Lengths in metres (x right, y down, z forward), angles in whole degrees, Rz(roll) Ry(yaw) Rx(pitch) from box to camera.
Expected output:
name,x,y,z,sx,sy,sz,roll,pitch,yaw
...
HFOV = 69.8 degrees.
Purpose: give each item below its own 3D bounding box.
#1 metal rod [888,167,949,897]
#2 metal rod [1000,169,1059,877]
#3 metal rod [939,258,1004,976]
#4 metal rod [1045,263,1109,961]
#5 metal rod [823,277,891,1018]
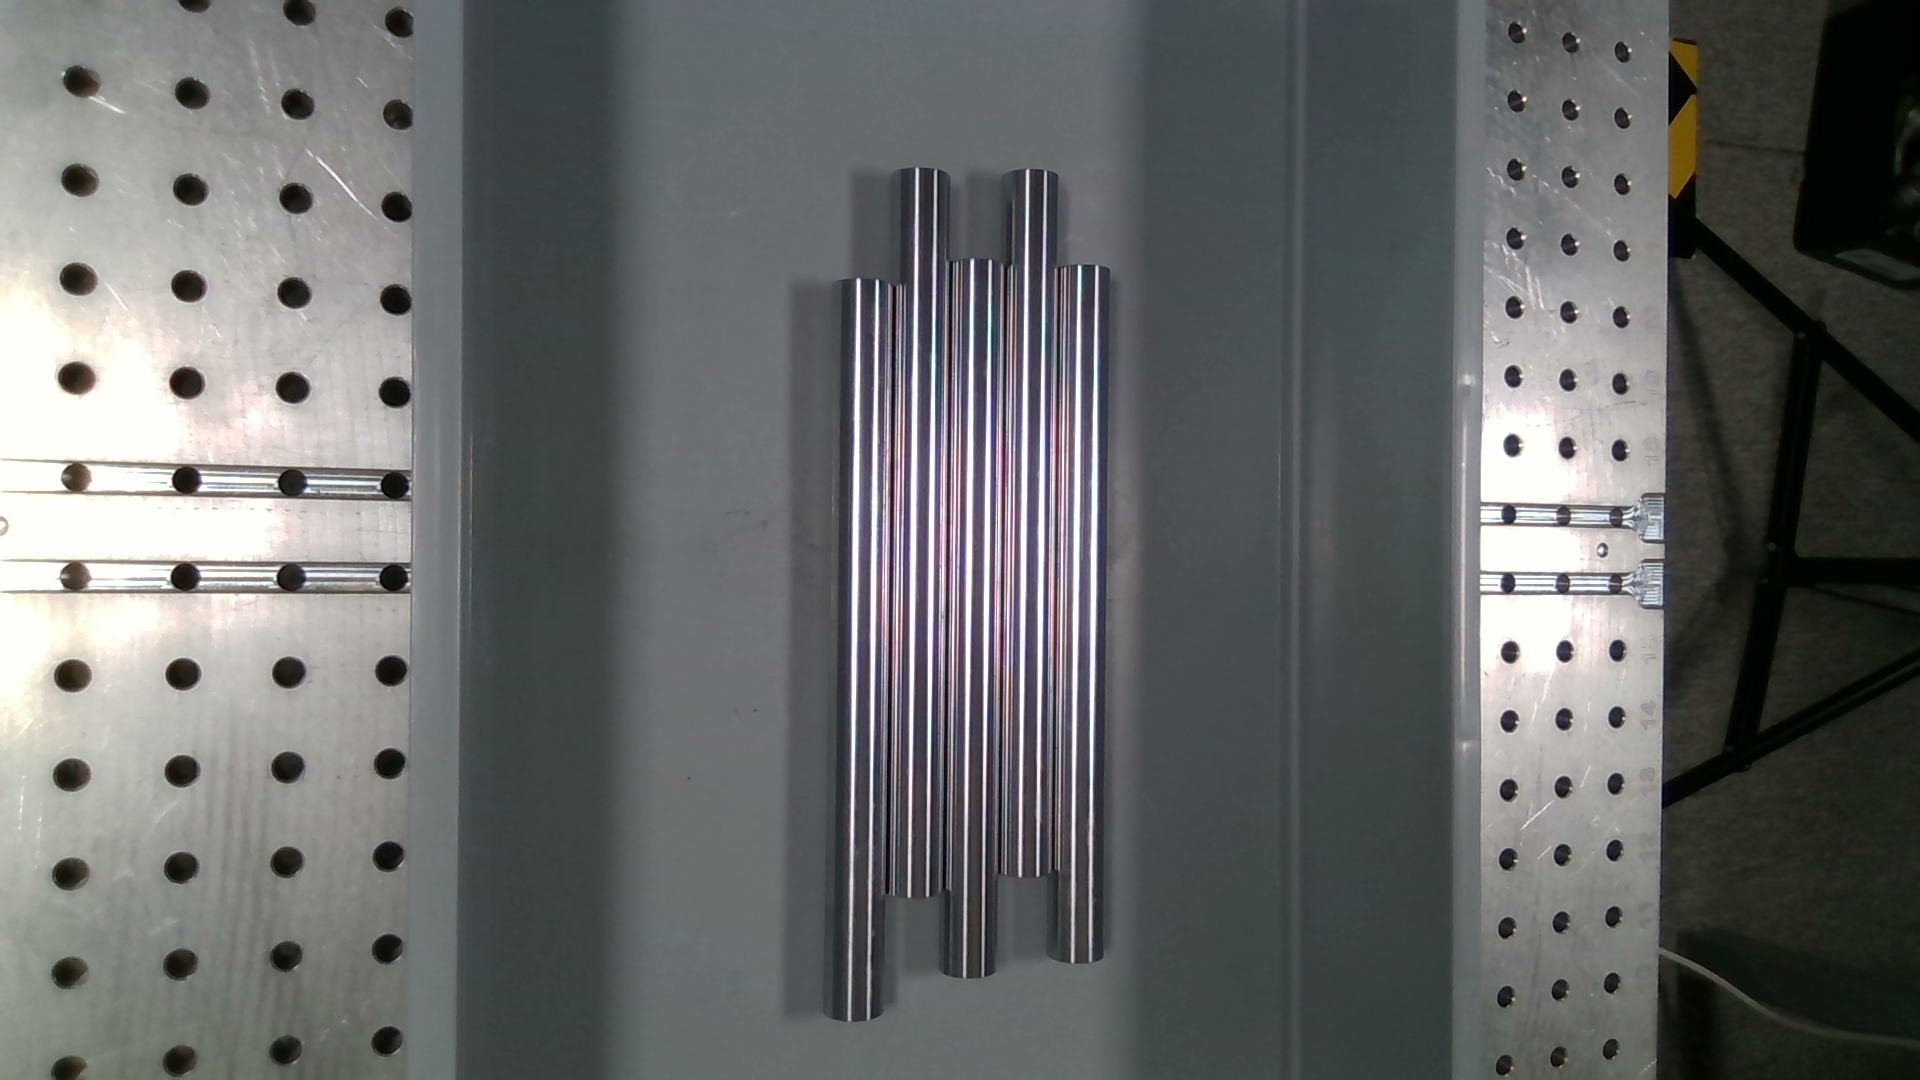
name,x,y,z,sx,sy,sz,roll,pitch,yaw
metal rod,-0.018,-0.003,0.578,0.025,0.025,0.300,1,90,-20
metal rod,0.029,-0.007,0.595,0.025,0.025,0.300,1,90,-20
metal rod,0.005,0.032,0.587,0.025,0.025,0.300,1,90,-20
metal rod,0.051,0.031,0.604,0.025,0.025,0.300,1,90,-20
metal rod,-0.042,0.044,0.569,0.025,0.025,0.300,1,90,-20
